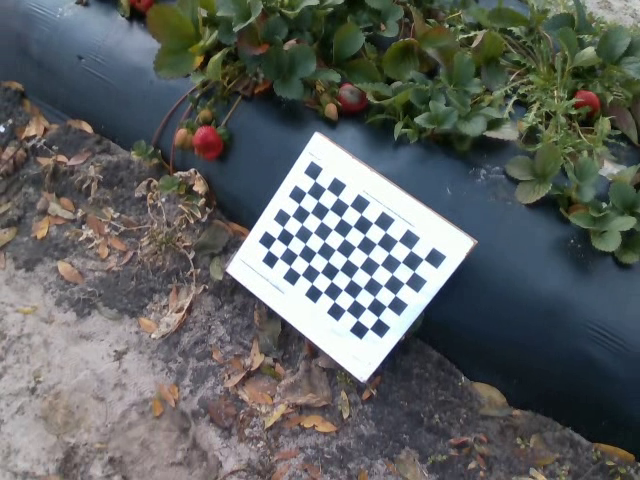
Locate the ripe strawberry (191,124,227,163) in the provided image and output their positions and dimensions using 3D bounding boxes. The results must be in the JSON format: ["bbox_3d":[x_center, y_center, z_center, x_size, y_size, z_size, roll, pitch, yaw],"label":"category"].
[{"bbox_3d":[-0.205,-0.186,1.211,0.067,0.075,0.052,18,6,19],"label":"ripe strawberry"}]
